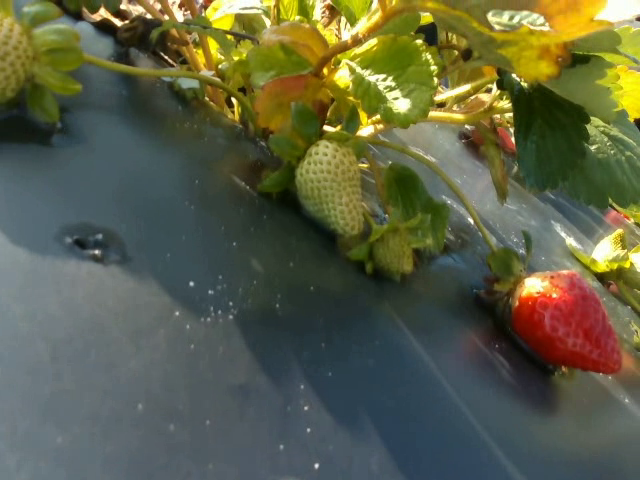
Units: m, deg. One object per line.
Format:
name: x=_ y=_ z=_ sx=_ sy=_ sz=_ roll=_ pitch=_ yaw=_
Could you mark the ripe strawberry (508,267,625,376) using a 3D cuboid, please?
ripe strawberry: x=0.078 y=0.028 z=0.181 sx=0.030 sy=0.045 sz=0.033 roll=-28 pitch=-33 yaw=-17
